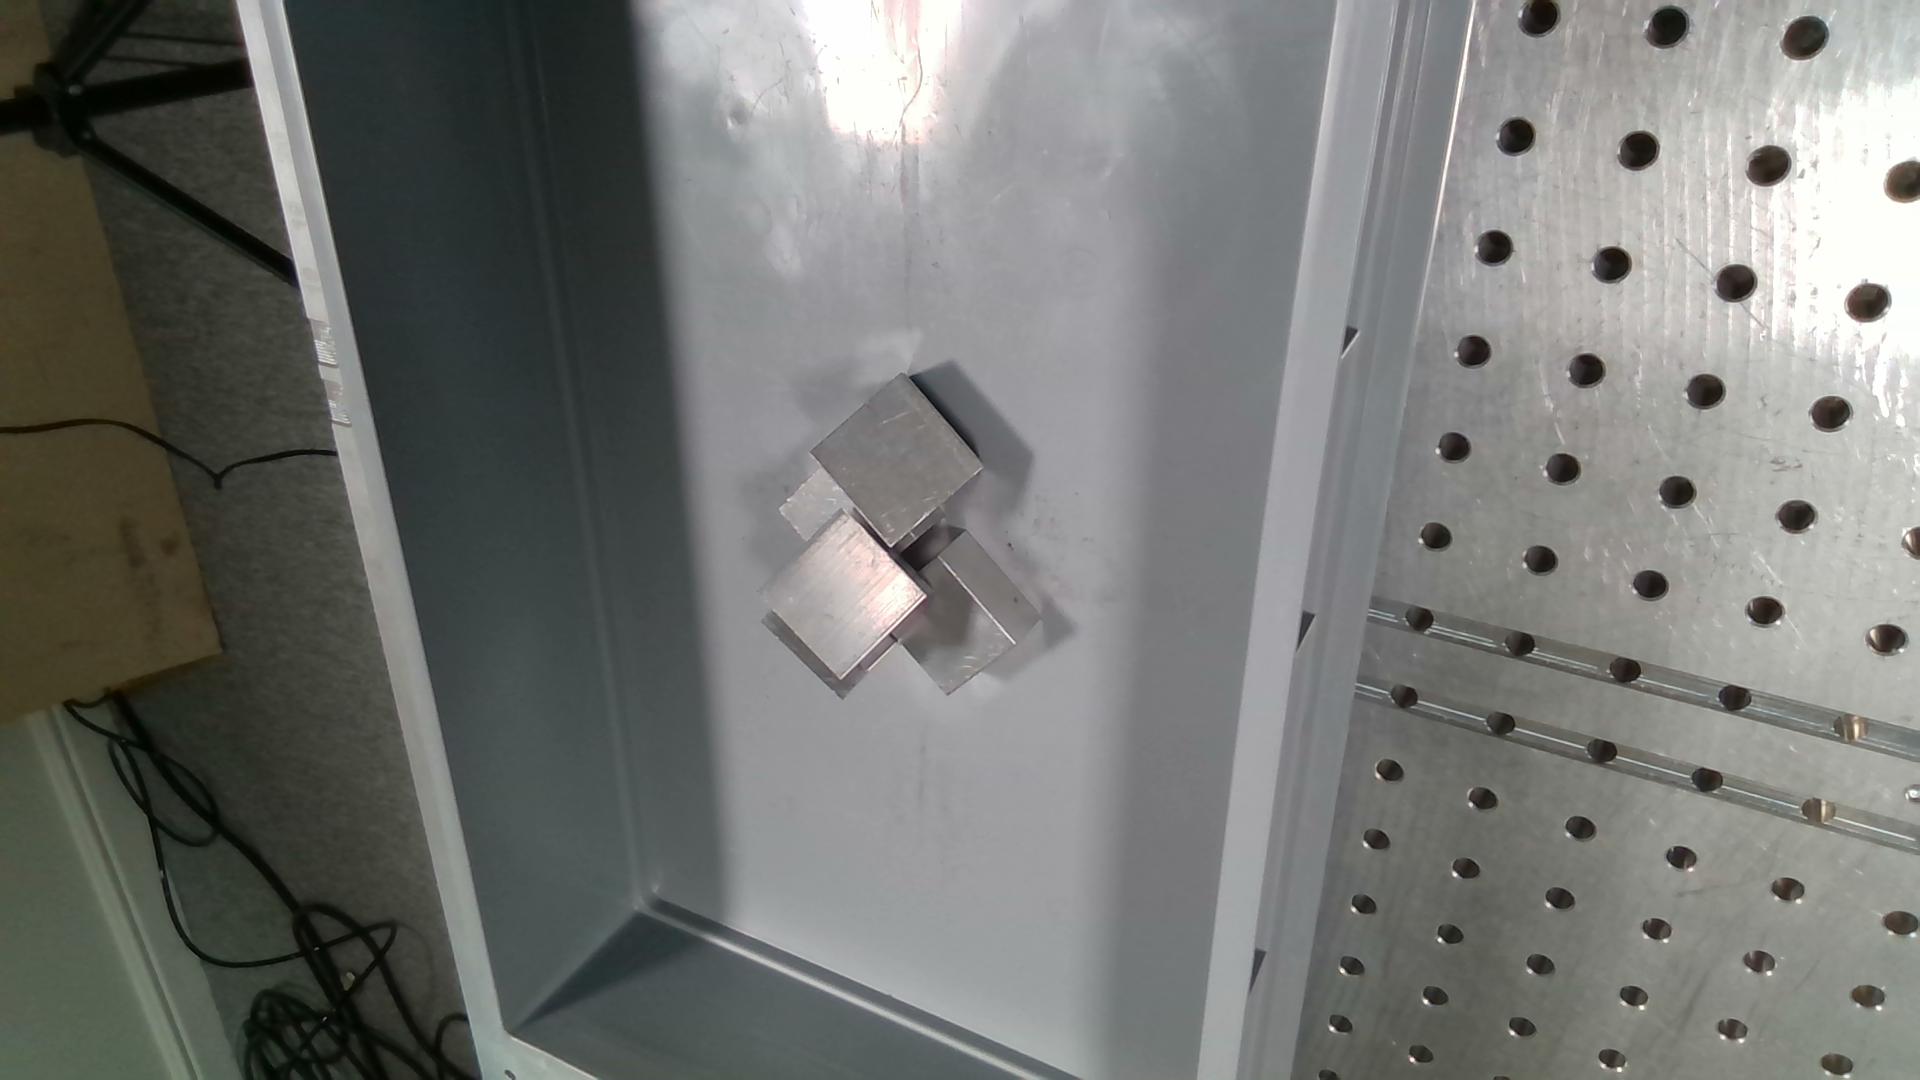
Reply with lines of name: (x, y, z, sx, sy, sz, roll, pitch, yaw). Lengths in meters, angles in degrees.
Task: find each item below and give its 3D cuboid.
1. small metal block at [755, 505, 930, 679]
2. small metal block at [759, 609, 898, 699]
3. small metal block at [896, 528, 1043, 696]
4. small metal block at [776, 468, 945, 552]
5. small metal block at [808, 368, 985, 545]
small metal block: (-0.047, 0.021, 0.571, 0.050, 0.025, 0.050, -45, 88, 6)
small metal block: (-0.052, 0.034, 0.613, 0.050, 0.050, 0.025, 44, 129, 4)
small metal block: (-0.002, 0.032, 0.596, 0.050, 0.025, 0.050, 49, 129, -1)
small metal block: (-0.044, -0.013, 0.598, 0.050, 0.025, 0.050, 49, 129, -1)
small metal block: (-0.025, -0.033, 0.560, 0.050, 0.025, 0.050, -41, 90, 1)
